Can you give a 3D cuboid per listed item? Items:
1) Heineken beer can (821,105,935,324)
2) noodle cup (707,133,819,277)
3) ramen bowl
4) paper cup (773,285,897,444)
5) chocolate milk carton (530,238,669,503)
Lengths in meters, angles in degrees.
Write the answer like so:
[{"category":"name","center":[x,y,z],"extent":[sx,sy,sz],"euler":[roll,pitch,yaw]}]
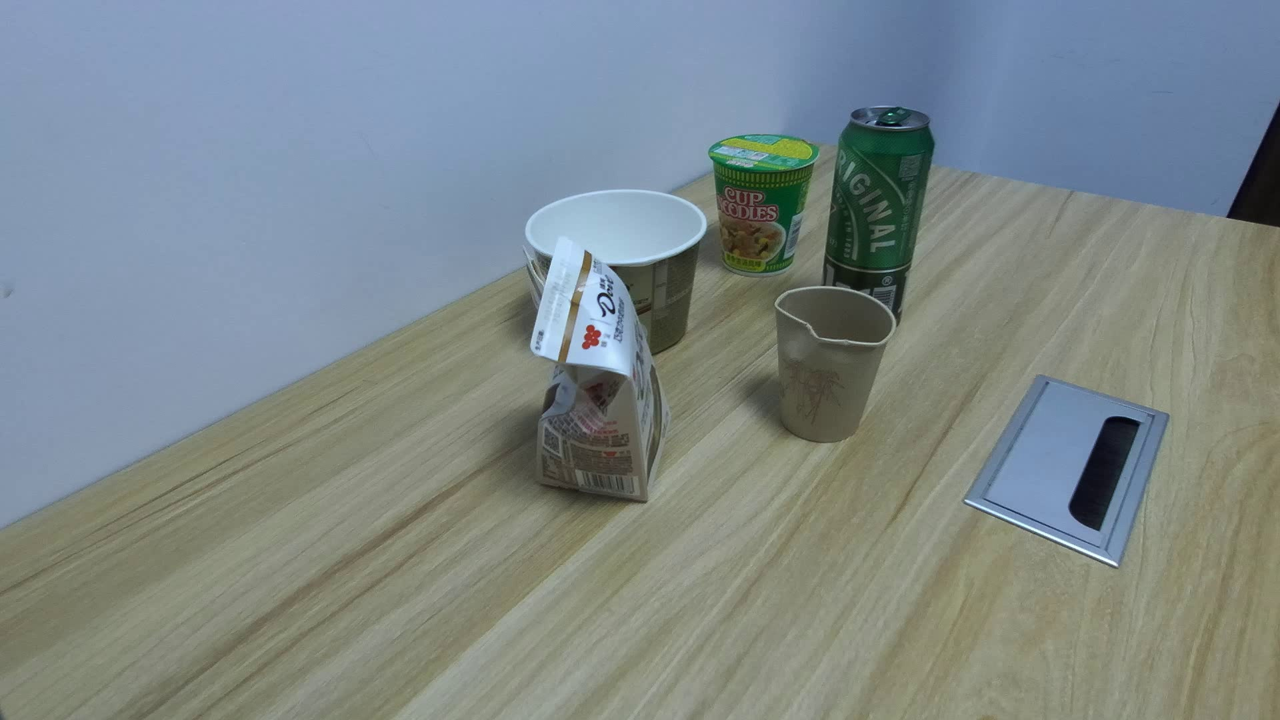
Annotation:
[{"category":"Heineken beer can","center":[0.178,-0.099,0.538],"extent":[0.067,0.169,0.067],"euler":[-2,34,1]},{"category":"noodle cup","center":[0.112,-0.140,0.649],"extent":[0.097,0.110,0.097],"euler":[-3,35,2]},{"category":"ramen bowl","center":[-0.018,-0.067,0.567],"extent":[0.140,0.095,0.140],"euler":[0,33,0]},{"category":"paper cup","center":[0.122,0.004,0.461],"extent":[0.073,0.081,0.069],"euler":[2,34,5]},{"category":"chocolate milk carton","center":[-0.030,0.009,0.417],"extent":[0.076,0.156,0.089],"euler":[2,47,13]}]
